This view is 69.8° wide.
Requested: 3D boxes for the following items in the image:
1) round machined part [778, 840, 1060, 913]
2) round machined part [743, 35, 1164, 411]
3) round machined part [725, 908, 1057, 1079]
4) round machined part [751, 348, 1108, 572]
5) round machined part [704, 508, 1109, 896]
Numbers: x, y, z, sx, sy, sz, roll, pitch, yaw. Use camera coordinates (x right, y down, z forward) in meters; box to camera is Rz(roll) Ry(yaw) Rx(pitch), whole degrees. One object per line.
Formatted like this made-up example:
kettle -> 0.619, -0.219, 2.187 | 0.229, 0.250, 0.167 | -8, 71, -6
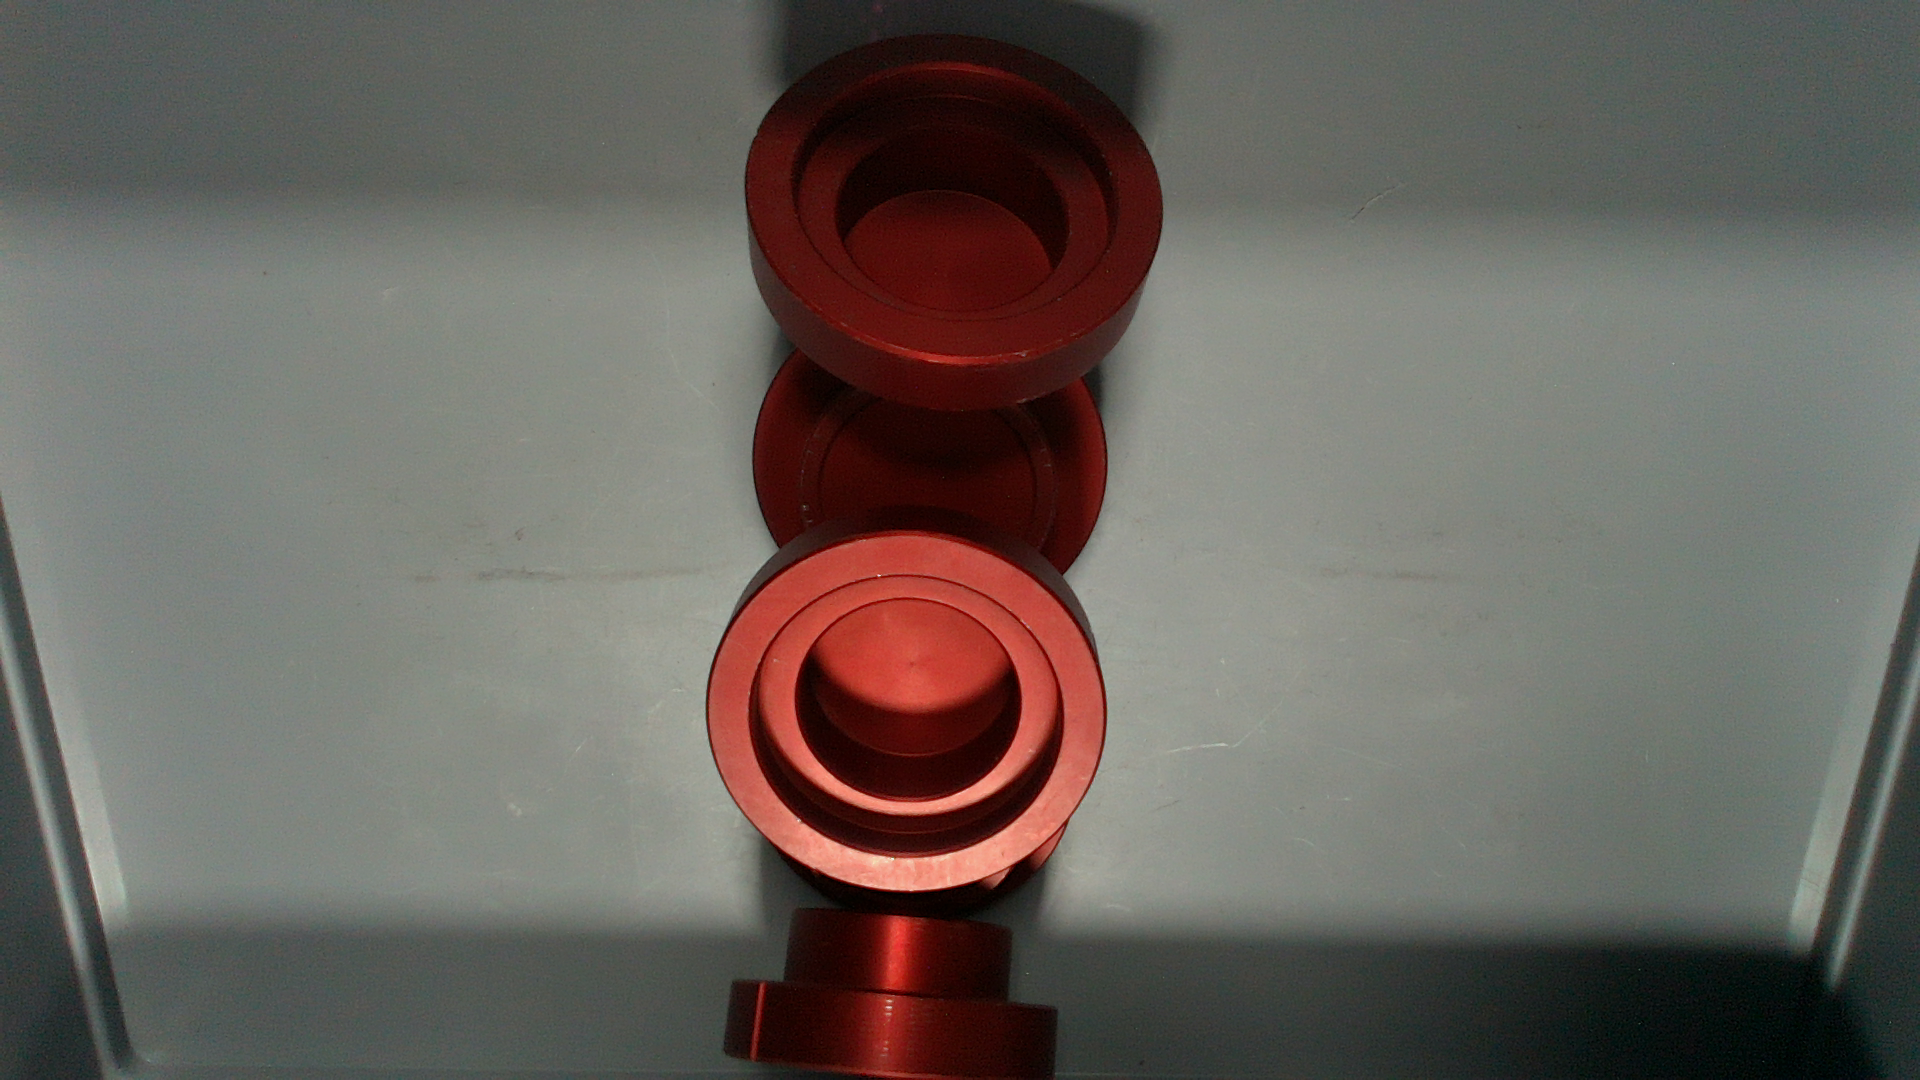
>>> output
round machined part -> -0.014, 0.073, 0.410 | 0.098, 0.042, 0.098 | 0, 110, 0
round machined part -> -0.003, -0.073, 0.337 | 0.098, 0.098, 0.042 | 7, 153, -3
round machined part -> -0.019, 0.136, 0.414 | 0.098, 0.098, 0.042 | 6, 72, -2
round machined part -> -0.008, -0.020, 0.376 | 0.098, 0.042, 0.098 | 0, 110, 0
round machined part -> -0.013, 0.038, 0.352 | 0.098, 0.042, 0.098 | 0, 110, 0
